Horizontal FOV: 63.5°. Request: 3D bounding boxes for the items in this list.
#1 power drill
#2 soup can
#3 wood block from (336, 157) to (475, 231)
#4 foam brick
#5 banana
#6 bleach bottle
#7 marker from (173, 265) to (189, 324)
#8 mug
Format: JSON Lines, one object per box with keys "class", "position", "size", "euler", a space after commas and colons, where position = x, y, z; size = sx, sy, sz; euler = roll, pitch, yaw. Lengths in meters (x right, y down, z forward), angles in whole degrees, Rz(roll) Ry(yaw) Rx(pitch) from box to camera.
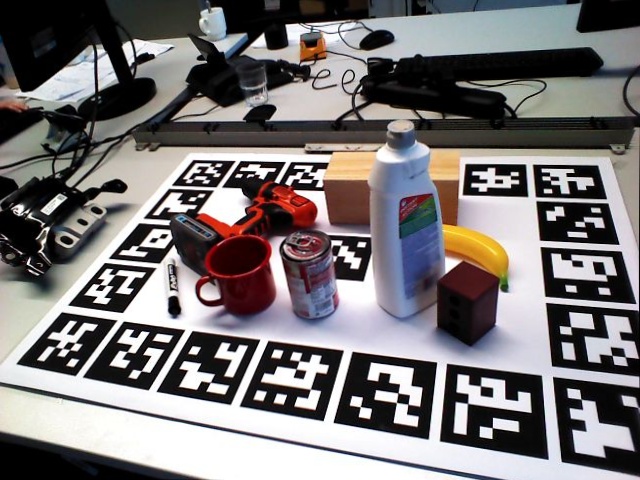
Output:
{"class": "power drill", "position": [-0.103, -0.020, 0.845], "size": [0.185, 0.057, 0.186], "euler": [28, 50, 36]}
{"class": "soup can", "position": [0.004, 0.048, 0.673], "size": [0.068, 0.102, 0.067], "euler": [-5, 34, 3]}
{"class": "wood block", "position": [0.141, -0.073, 0.823], "size": [0.207, 0.091, 0.089], "euler": [2, 39, 16]}
{"class": "foam brick", "position": [0.198, 0.083, 0.612], "size": [0.051, 0.078, 0.053], "euler": [-30, 39, -28]}
{"class": "banana", "position": [0.197, 0.003, 0.746], "size": [0.198, 0.039, 0.074], "euler": [16, 57, 28]}
{"class": "bleach bottle", "position": [0.123, -0.018, 0.618], "size": [0.102, 0.251, 0.068], "euler": [-35, 43, -31]}
{"class": "marker", "position": [-0.205, 0.079, 0.764], "size": [0.019, 0.020, 0.121], "euler": [-17, 38, -6]}
{"class": "mug", "position": [-0.099, 0.057, 0.711], "size": [0.117, 0.081, 0.093], "euler": [-28, 42, -18]}
